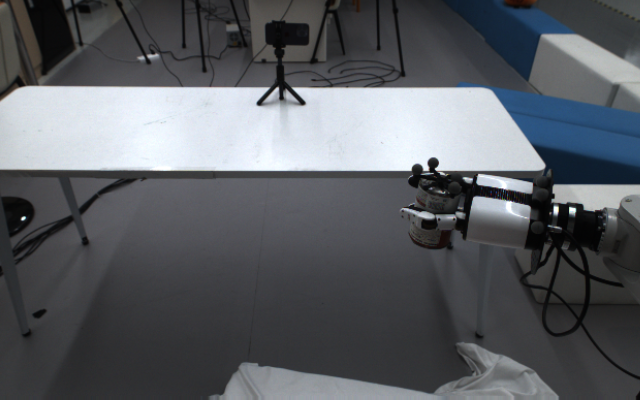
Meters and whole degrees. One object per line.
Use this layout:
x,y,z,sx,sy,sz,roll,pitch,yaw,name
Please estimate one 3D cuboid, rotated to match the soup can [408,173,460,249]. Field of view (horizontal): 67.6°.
0.183,0.018,0.770,0.067,0.101,0.067,4,30,-2,soup can
